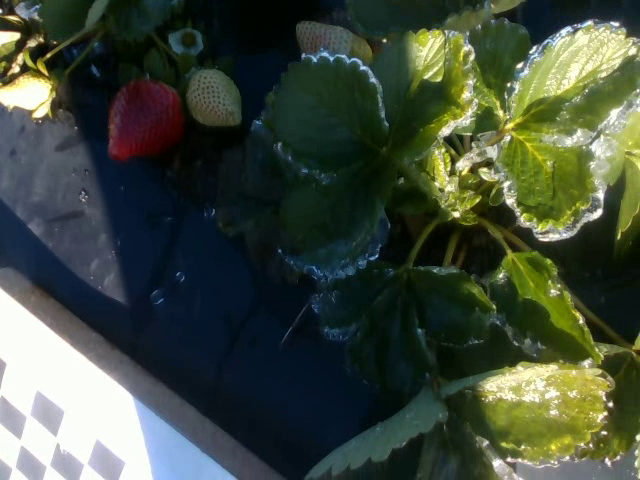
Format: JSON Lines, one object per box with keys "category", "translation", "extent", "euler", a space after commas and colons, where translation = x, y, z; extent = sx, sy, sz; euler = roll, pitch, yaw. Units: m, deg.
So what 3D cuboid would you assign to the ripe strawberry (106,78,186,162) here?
{"category": "ripe strawberry", "translation": [-0.088, -0.055, 0.262], "extent": [0.040, 0.042, 0.053], "euler": [-4, 40, 21]}
